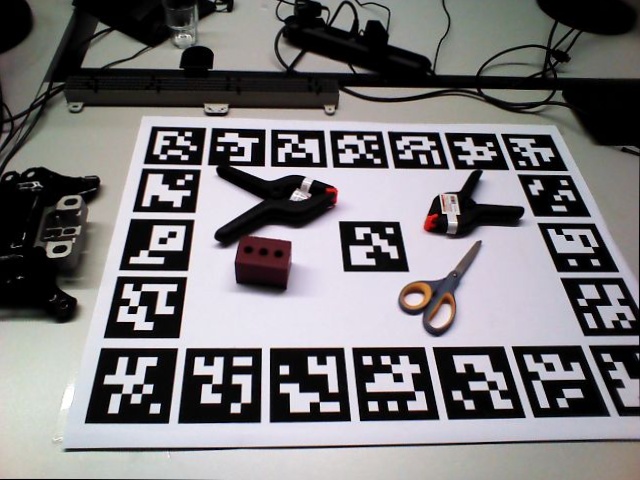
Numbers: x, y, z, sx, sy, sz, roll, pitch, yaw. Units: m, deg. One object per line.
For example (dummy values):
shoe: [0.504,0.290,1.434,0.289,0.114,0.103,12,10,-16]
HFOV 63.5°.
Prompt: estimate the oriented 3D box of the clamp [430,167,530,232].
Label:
clamp: [0.255,-0.060,0.868,0.164,0.037,0.121,-23,65,-20]

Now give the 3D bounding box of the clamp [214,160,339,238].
clamp: [-0.070,-0.072,0.847,0.203,0.037,0.164,-2,50,-7]

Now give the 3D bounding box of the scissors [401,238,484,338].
scissors: [0.199,0.057,0.779,0.088,0.016,0.201,37,57,13]

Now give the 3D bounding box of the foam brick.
foam brick: [-0.082,0.032,0.760,0.078,0.051,0.052,4,54,4]
